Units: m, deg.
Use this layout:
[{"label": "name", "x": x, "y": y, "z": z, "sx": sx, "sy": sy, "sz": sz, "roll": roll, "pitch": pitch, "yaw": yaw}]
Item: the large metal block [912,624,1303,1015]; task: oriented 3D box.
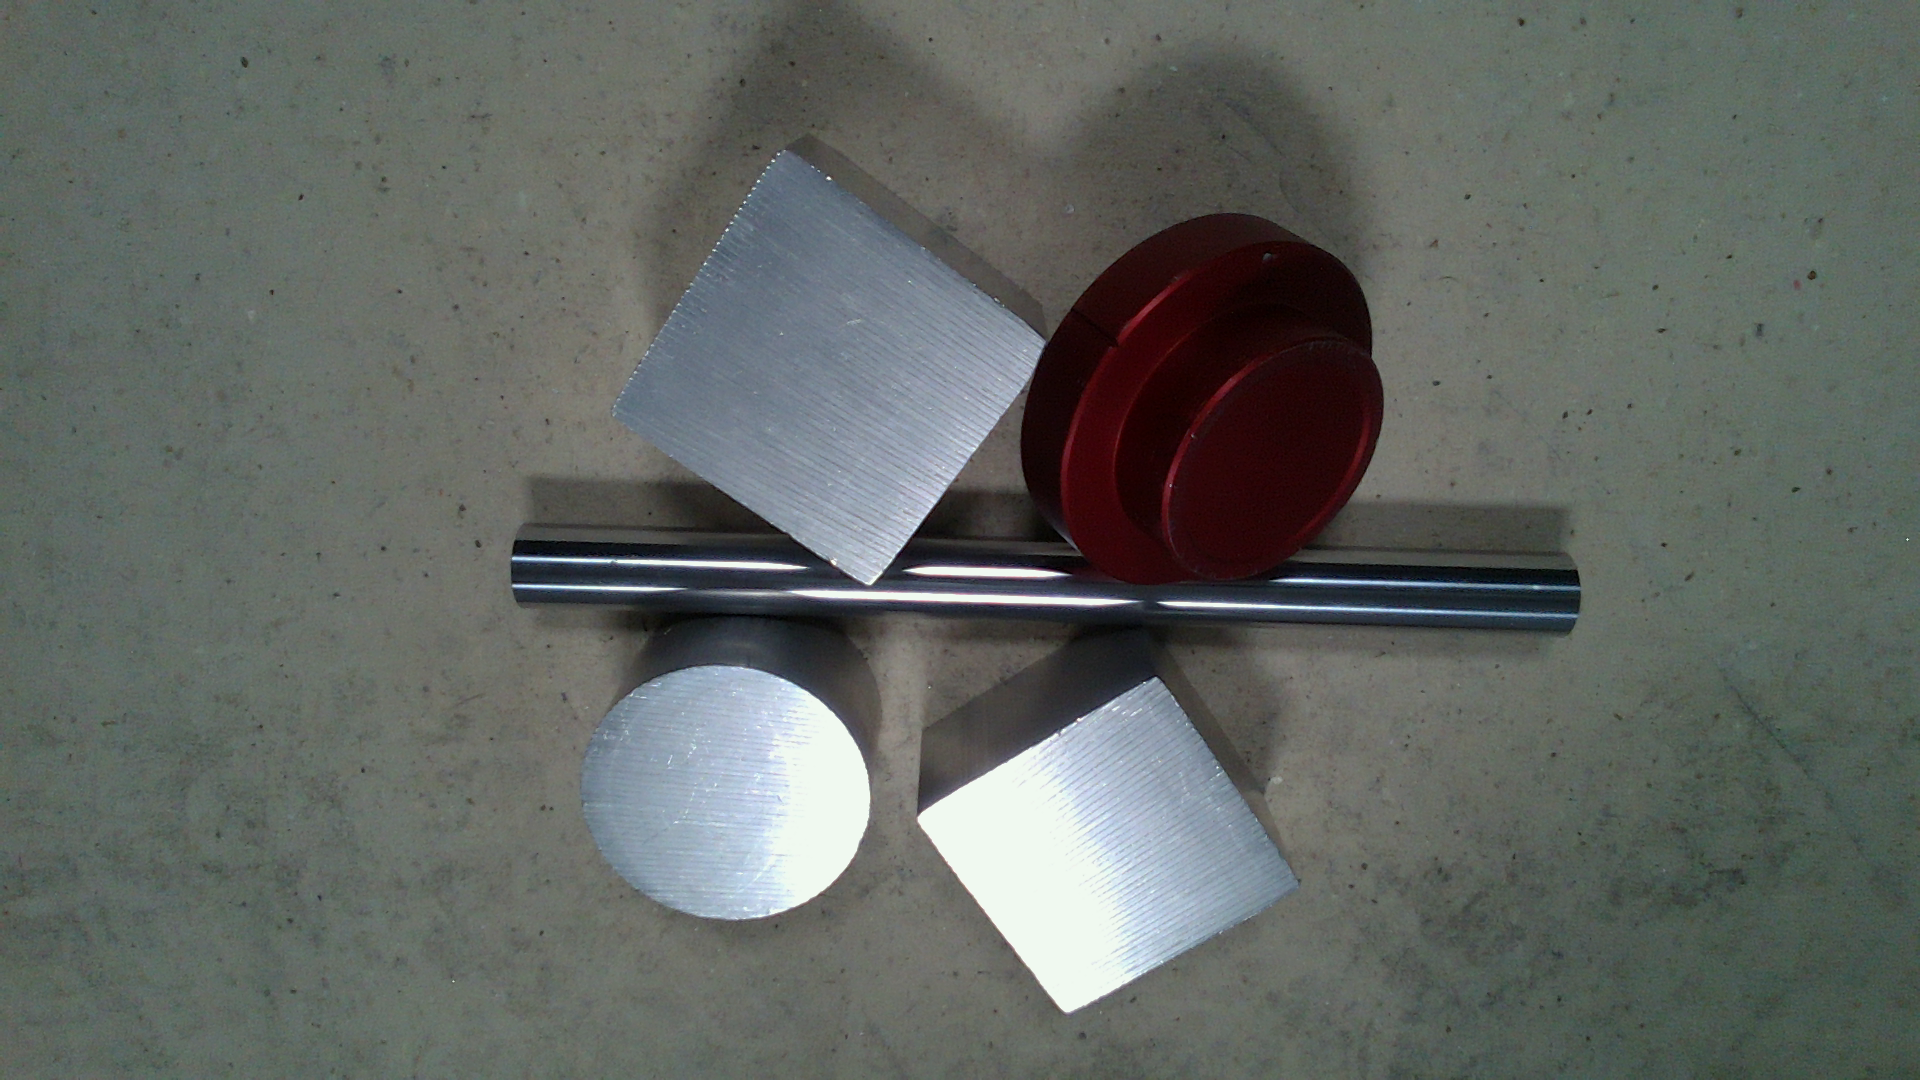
[{"label": "large metal block", "x": 0.042, "y": 0.079, "z": 0.410, "sx": 0.080, "sy": 0.050, "sz": 0.080, "roll": -32, "pitch": 107, "yaw": 11}]

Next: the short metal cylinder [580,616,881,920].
[{"label": "short metal cylinder", "x": -0.065, "y": 0.063, "z": 0.403, "sx": 0.080, "sy": 0.050, "sz": 0.080, "roll": 0, "pitch": 110, "yaw": 0}]

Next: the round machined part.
[{"label": "round machined part", "x": 0.067, "y": -0.029, "z": 0.350, "sx": 0.098, "sy": 0.042, "sz": 0.098, "roll": -17, "pitch": 129, "yaw": -21}]

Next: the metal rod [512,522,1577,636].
[{"label": "metal rod", "x": 0.024, "y": 0.011, "z": 0.399, "sx": 0.300, "sy": 0.025, "sz": 0.025, "roll": 2, "pitch": 110, "yaw": -1}]

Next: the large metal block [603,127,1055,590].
[{"label": "large metal block", "x": -0.032, "y": -0.048, "z": 0.360, "sx": 0.080, "sy": 0.050, "sz": 0.080, "roll": 35, "pitch": 106, "yaw": -12}]
